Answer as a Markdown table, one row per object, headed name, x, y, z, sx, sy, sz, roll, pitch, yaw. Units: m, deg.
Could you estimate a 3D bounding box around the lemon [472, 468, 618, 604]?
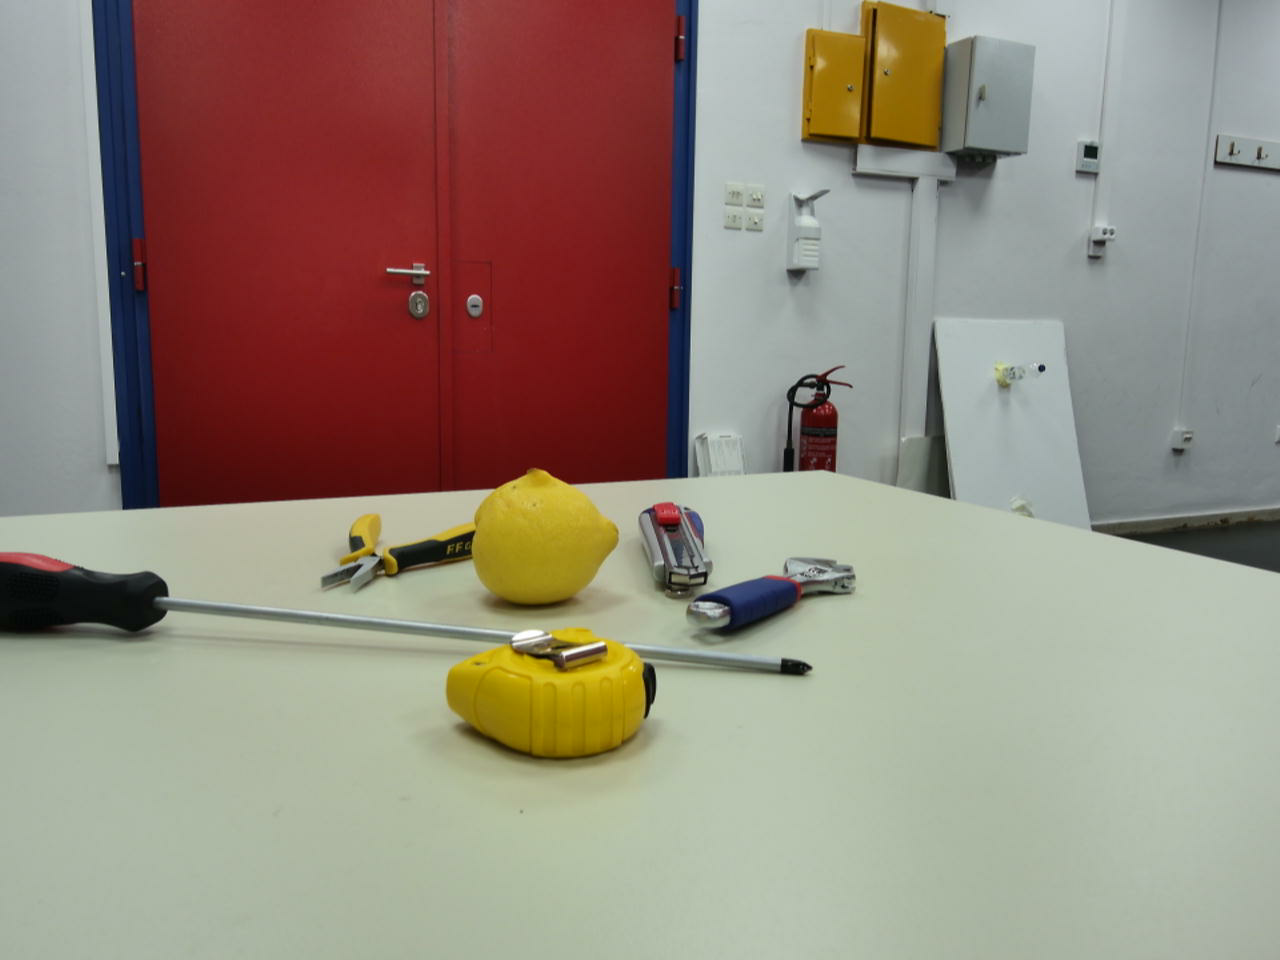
| name | x | y | z | sx | sy | sz | roll | pitch | yaw |
| --- | --- | --- | --- | --- | --- | --- | --- | --- | --- |
| lemon | -0.054 | 0.029 | 0.527 | 0.071 | 0.071 | 0.070 | 4 | 8 | 31 |
